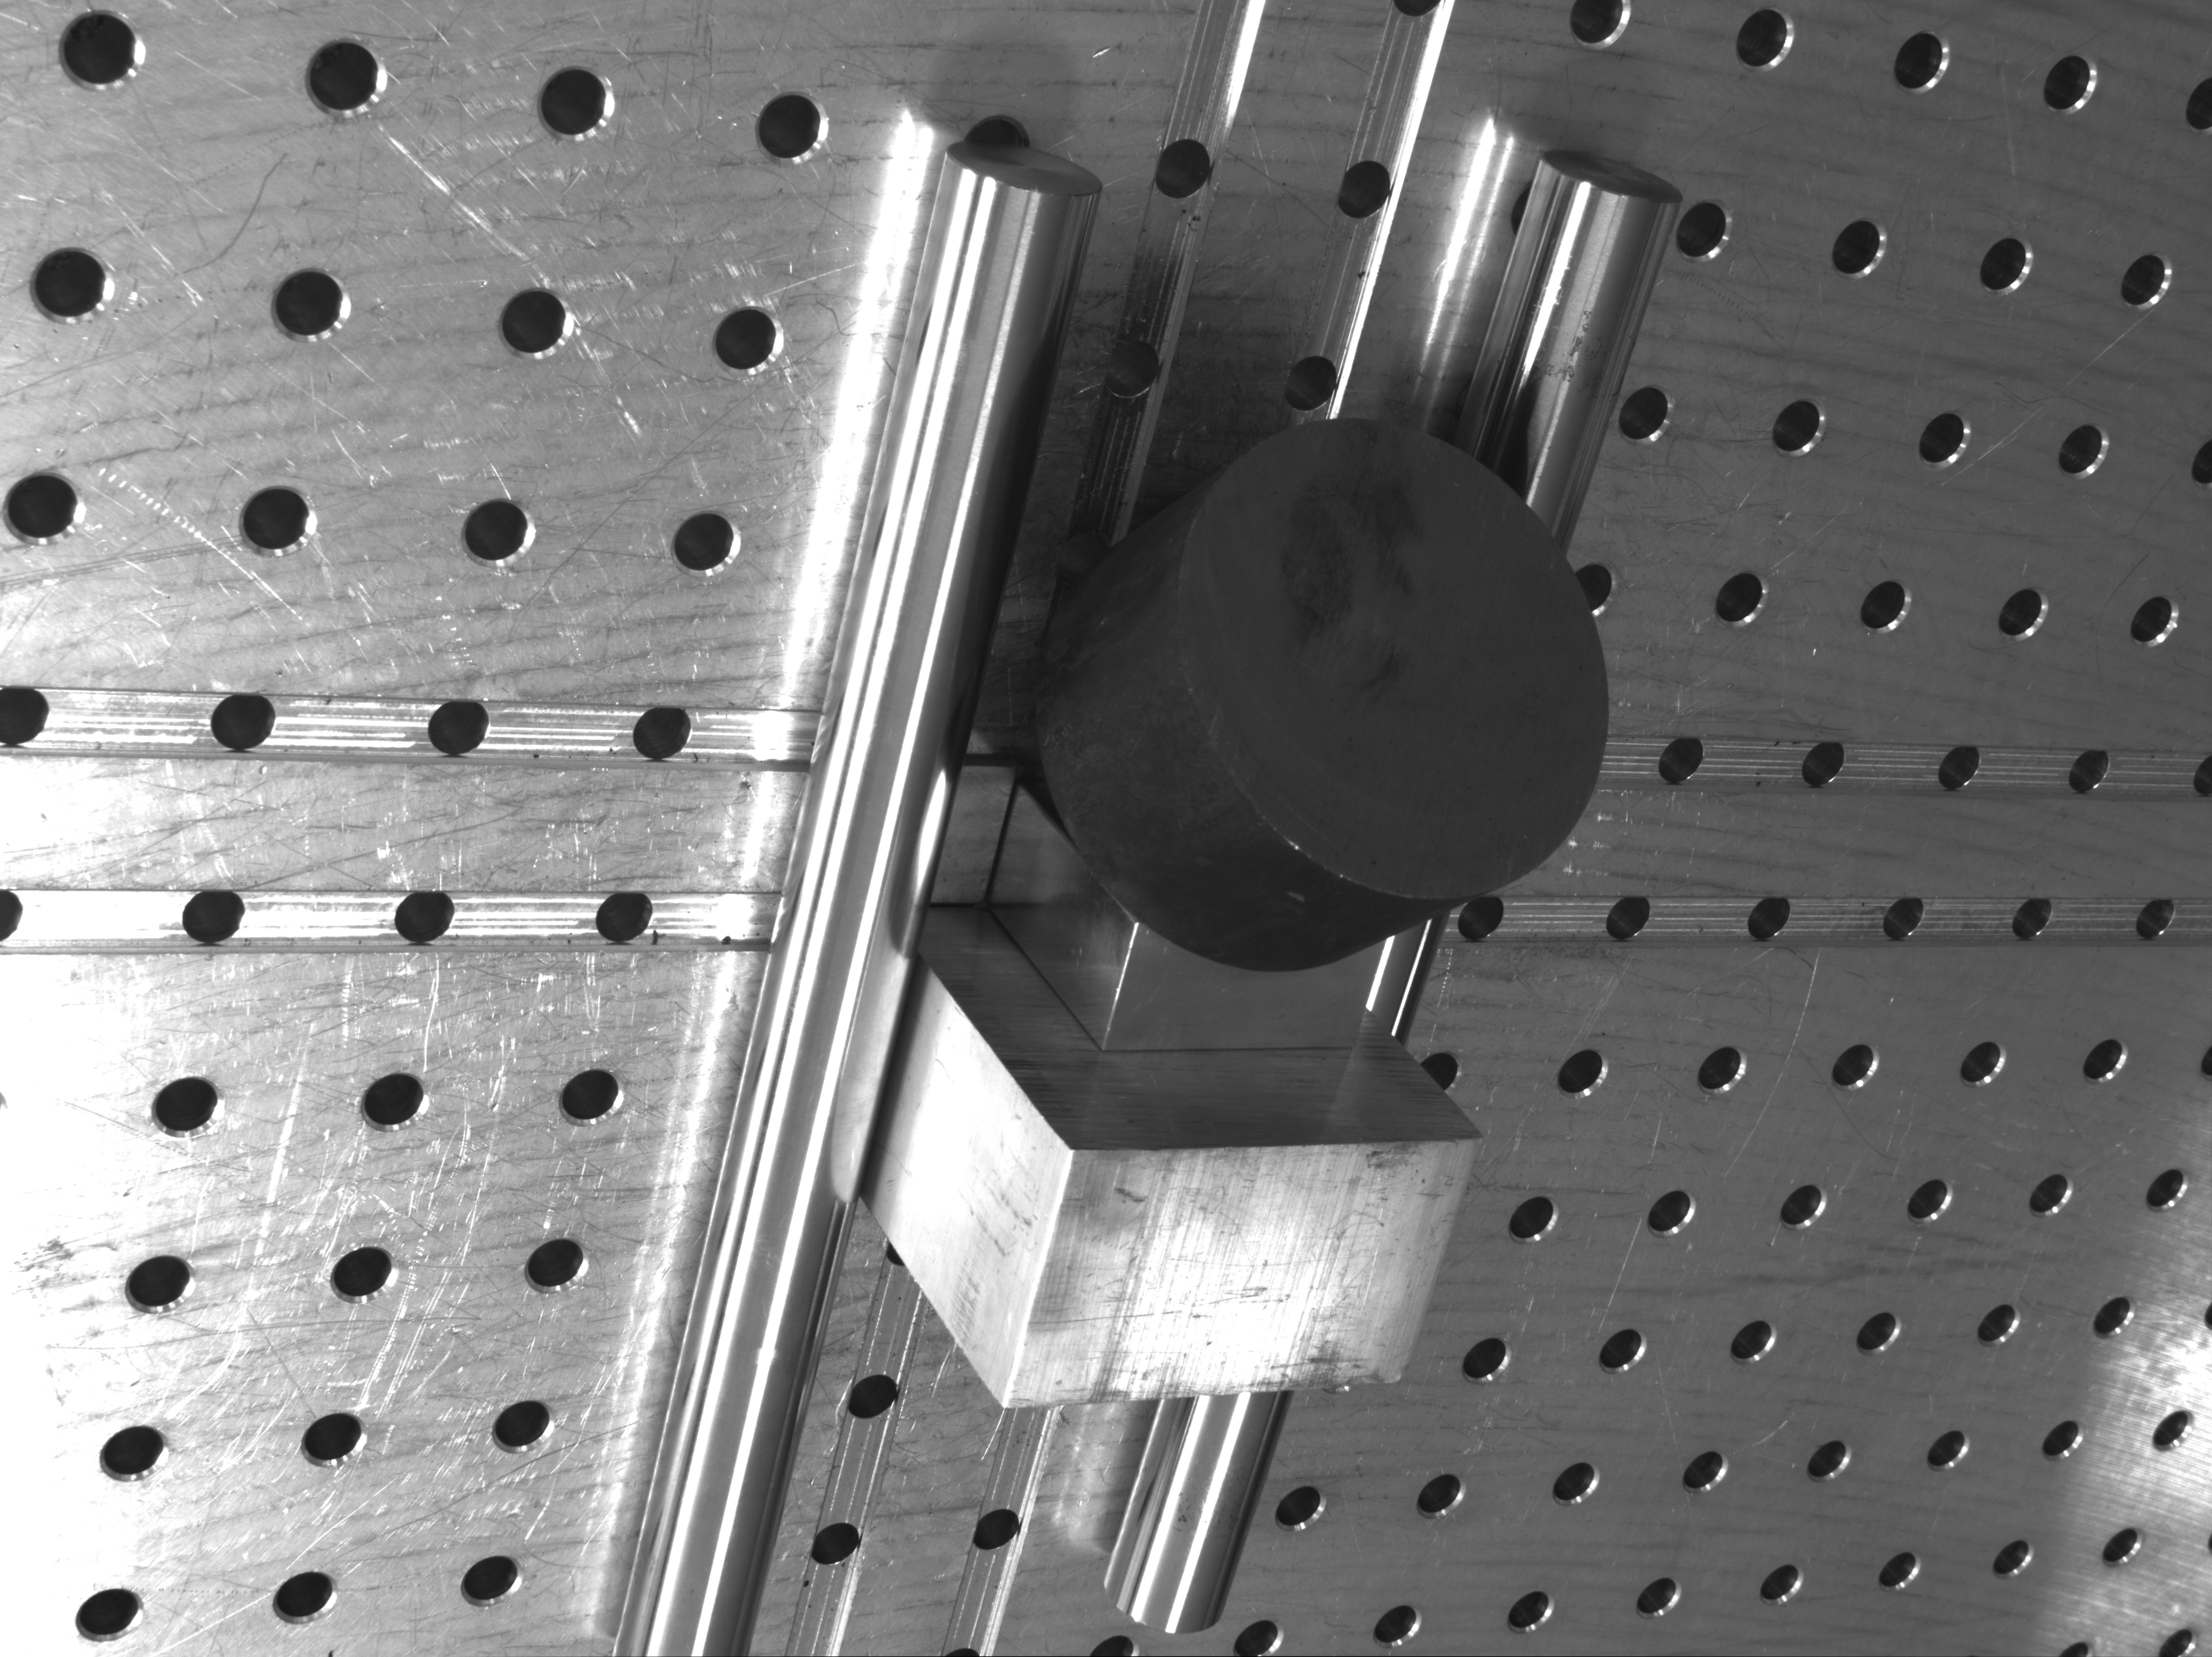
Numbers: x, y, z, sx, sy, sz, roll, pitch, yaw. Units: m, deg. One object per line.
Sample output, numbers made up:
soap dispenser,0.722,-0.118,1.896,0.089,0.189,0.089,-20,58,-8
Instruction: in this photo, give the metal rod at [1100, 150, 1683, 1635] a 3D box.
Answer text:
metal rod,0.048,0.022,0.680,0.025,0.025,0.300,2,117,-29

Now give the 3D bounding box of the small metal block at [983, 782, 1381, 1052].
small metal block,0.013,0.015,0.641,0.050,0.050,0.025,1,118,-29

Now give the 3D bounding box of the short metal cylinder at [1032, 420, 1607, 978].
short metal cylinder,0.035,-0.020,0.604,0.080,0.050,0.080,9,70,-26

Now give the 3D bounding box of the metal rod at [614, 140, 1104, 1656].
metal rod,-0.047,0.029,0.633,0.025,0.025,0.300,0,118,-28

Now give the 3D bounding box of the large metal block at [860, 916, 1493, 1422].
large metal block,0.008,0.057,0.641,0.080,0.080,0.050,1,118,-28
